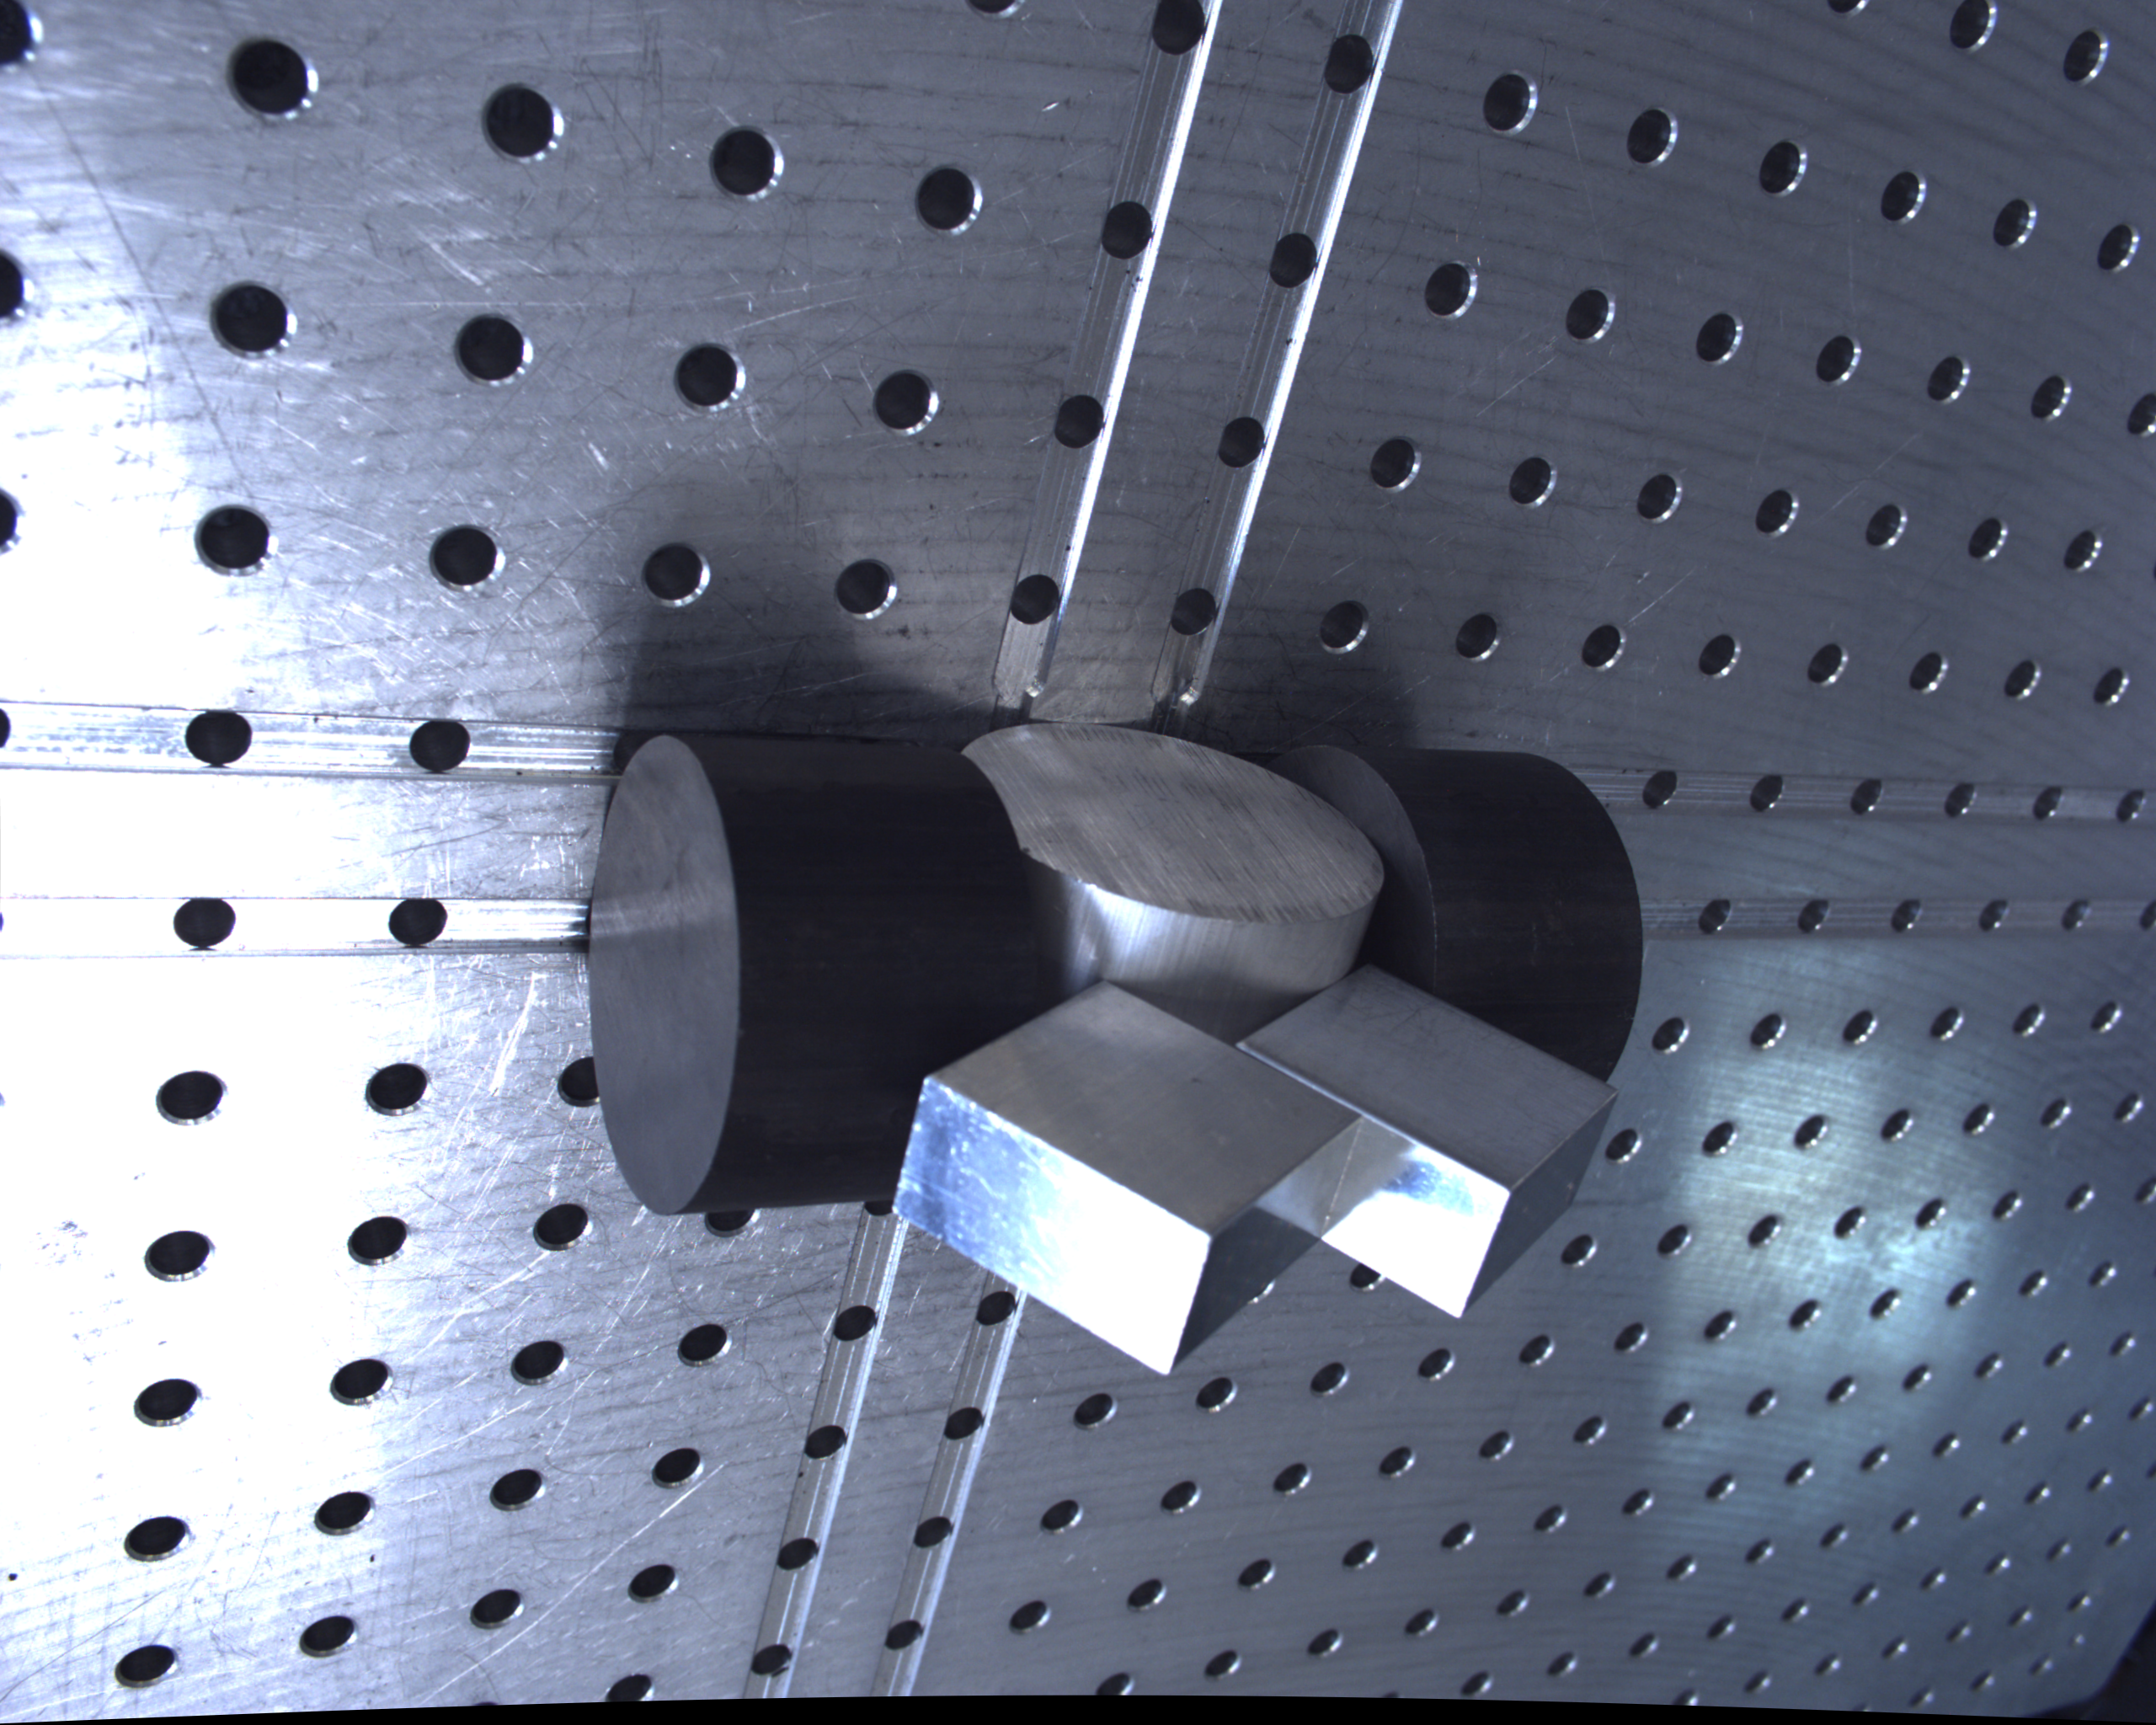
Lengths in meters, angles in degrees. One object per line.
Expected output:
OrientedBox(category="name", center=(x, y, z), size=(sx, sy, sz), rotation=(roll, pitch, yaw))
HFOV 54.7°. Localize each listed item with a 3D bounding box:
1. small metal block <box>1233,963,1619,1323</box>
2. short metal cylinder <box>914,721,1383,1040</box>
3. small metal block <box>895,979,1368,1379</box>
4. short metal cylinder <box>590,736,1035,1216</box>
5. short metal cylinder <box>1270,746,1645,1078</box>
OrientedBox(category="small metal block", center=(0.056, 0.045, 0.354), size=(0.050, 0.050, 0.025), rotation=(-24, 135, -54))
OrientedBox(category="short metal cylinder", center=(0.011, 0.013, 0.389), size=(0.081, 0.080, 0.050), rotation=(1, 118, -29))
OrientedBox(category="small metal block", center=(0.009, 0.047, 0.324), size=(0.050, 0.050, 0.025), rotation=(-25, 136, -54))
OrientedBox(category="short metal cylinder", center=(-0.048, 0.019, 0.360), size=(0.050, 0.080, 0.079), rotation=(1, 118, -29))
OrientedBox(category="short metal cylinder", center=(0.067, 0.017, 0.422), size=(0.050, 0.080, 0.079), rotation=(1, 118, -28))
